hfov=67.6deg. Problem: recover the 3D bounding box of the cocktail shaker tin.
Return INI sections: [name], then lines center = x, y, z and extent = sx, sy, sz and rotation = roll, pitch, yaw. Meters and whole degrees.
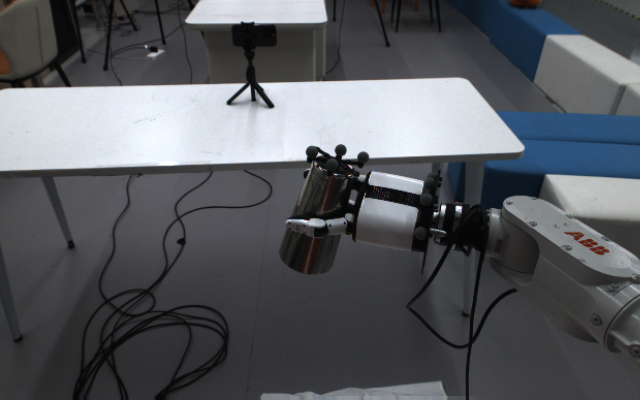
[cocktail shaker tin]
center = 0.001, 0.018, 0.749
extent = 0.093, 0.170, 0.093
rotation = 12, 29, -7
